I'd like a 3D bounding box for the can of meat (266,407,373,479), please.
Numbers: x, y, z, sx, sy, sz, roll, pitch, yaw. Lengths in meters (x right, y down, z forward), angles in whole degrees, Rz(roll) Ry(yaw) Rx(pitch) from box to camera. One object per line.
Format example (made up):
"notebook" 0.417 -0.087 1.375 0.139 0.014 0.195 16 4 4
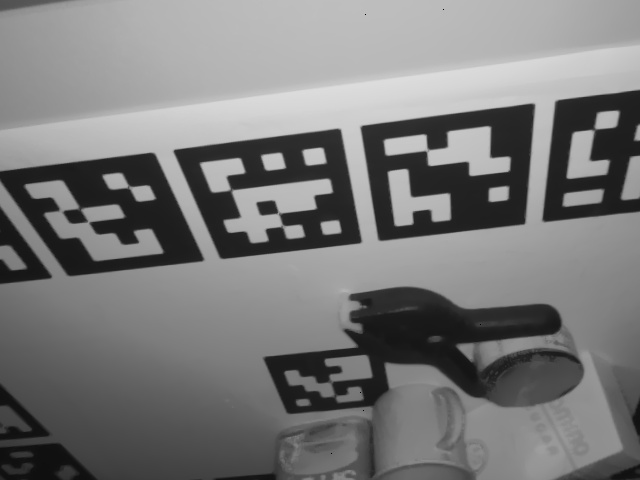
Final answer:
"can of meat" 0.000 0.209 0.646 0.101 0.084 0.057 -9 133 10

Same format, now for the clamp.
"clamp" 0.100 0.056 0.539 0.166 0.037 0.120 25 132 -16

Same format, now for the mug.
"mug" 0.094 0.171 0.601 0.094 0.082 0.115 15 129 -13

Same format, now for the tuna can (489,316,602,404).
"tuna can" 0.183 0.095 0.568 0.086 0.034 0.085 -1 131 0

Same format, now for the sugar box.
"sugar box" 0.188 0.174 0.609 0.174 0.093 0.045 -34 125 29
